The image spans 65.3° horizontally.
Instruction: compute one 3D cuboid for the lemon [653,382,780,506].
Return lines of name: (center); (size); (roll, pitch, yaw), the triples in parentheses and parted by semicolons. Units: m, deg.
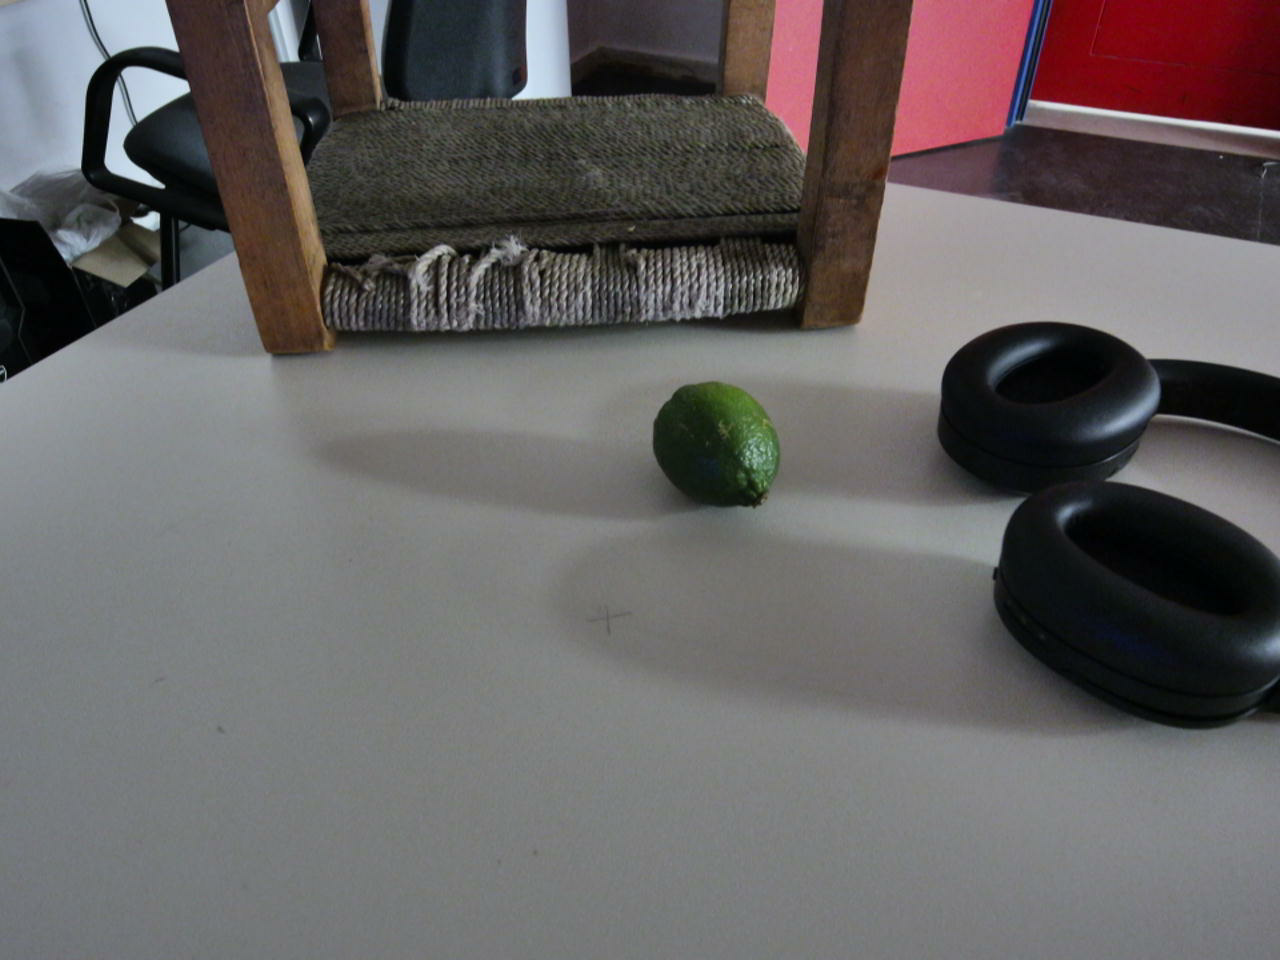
lemon: (0.033, -0.017, 0.435); (0.057, 0.051, 0.054); (14, 40, 18)
